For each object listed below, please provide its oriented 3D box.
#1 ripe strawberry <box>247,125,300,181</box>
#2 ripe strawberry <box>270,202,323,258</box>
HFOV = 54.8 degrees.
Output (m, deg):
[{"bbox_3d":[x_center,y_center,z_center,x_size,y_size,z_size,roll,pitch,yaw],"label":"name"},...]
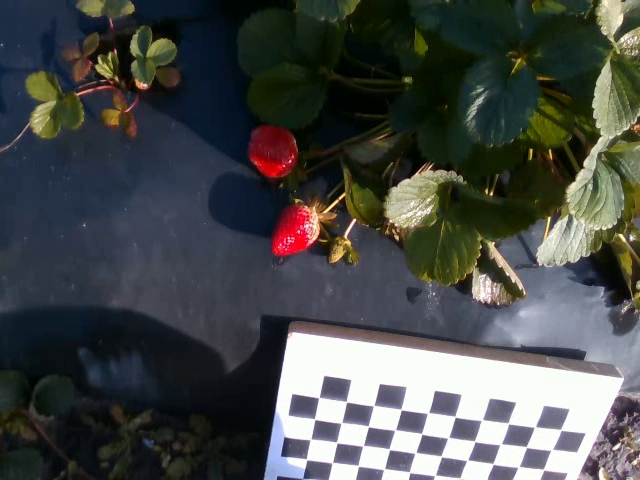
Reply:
[{"bbox_3d":[-0.040,-0.074,0.514,0.054,0.048,0.039,16,22,-33],"label":"ripe strawberry"},{"bbox_3d":[-0.022,-0.007,0.504,0.053,0.043,0.039,-47,21,-26],"label":"ripe strawberry"}]
